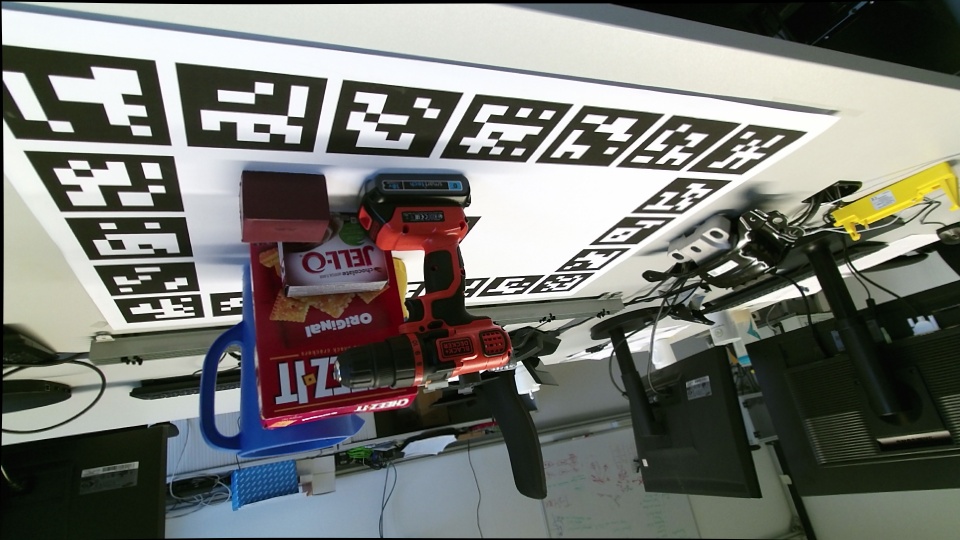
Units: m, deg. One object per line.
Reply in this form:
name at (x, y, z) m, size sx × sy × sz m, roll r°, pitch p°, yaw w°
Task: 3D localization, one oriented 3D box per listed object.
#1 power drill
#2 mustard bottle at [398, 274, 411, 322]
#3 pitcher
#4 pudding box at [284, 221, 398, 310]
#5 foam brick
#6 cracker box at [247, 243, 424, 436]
power drill at (-0.062, 0.027, 0.554) m, size 0.185 × 0.186 × 0.057 m, roll -3°, pitch 160°, yaw -24°
mustard bottle at (-0.132, 0.097, 0.744) m, size 0.096 × 0.190 × 0.058 m, roll 3°, pitch 152°, yaw -38°
pitcher at (-0.250, 0.114, 0.682) m, size 0.189 × 0.241 × 0.133 m, roll -2°, pitch 156°, yaw -33°
pudding box at (-0.157, -0.006, 0.602) m, size 0.114 × 0.089 × 0.039 m, roll -5°, pitch 159°, yaw -28°
foam brick at (-0.191, -0.060, 0.536) m, size 0.078 × 0.051 × 0.053 m, roll -2°, pitch 154°, yaw -28°
cracker box at (-0.170, 0.063, 0.620) m, size 0.165 × 0.212 × 0.072 m, roll -6°, pitch 159°, yaw -25°
